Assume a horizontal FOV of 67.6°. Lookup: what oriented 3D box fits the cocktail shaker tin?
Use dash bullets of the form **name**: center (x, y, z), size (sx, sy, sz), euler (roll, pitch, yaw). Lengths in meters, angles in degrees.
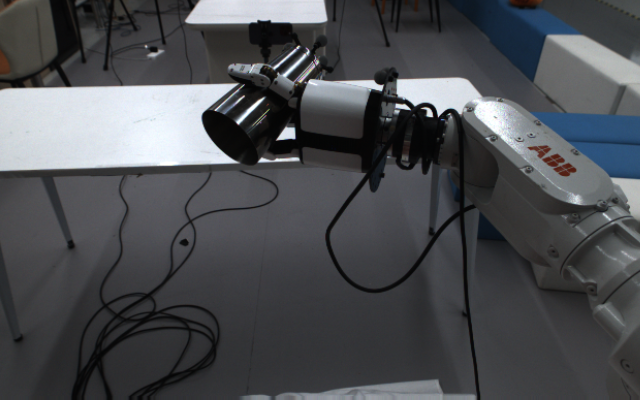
- **cocktail shaker tin**: center (-0.070, -0.144, 0.660), size (0.093, 0.093, 0.170), euler (23, 57, 27)
